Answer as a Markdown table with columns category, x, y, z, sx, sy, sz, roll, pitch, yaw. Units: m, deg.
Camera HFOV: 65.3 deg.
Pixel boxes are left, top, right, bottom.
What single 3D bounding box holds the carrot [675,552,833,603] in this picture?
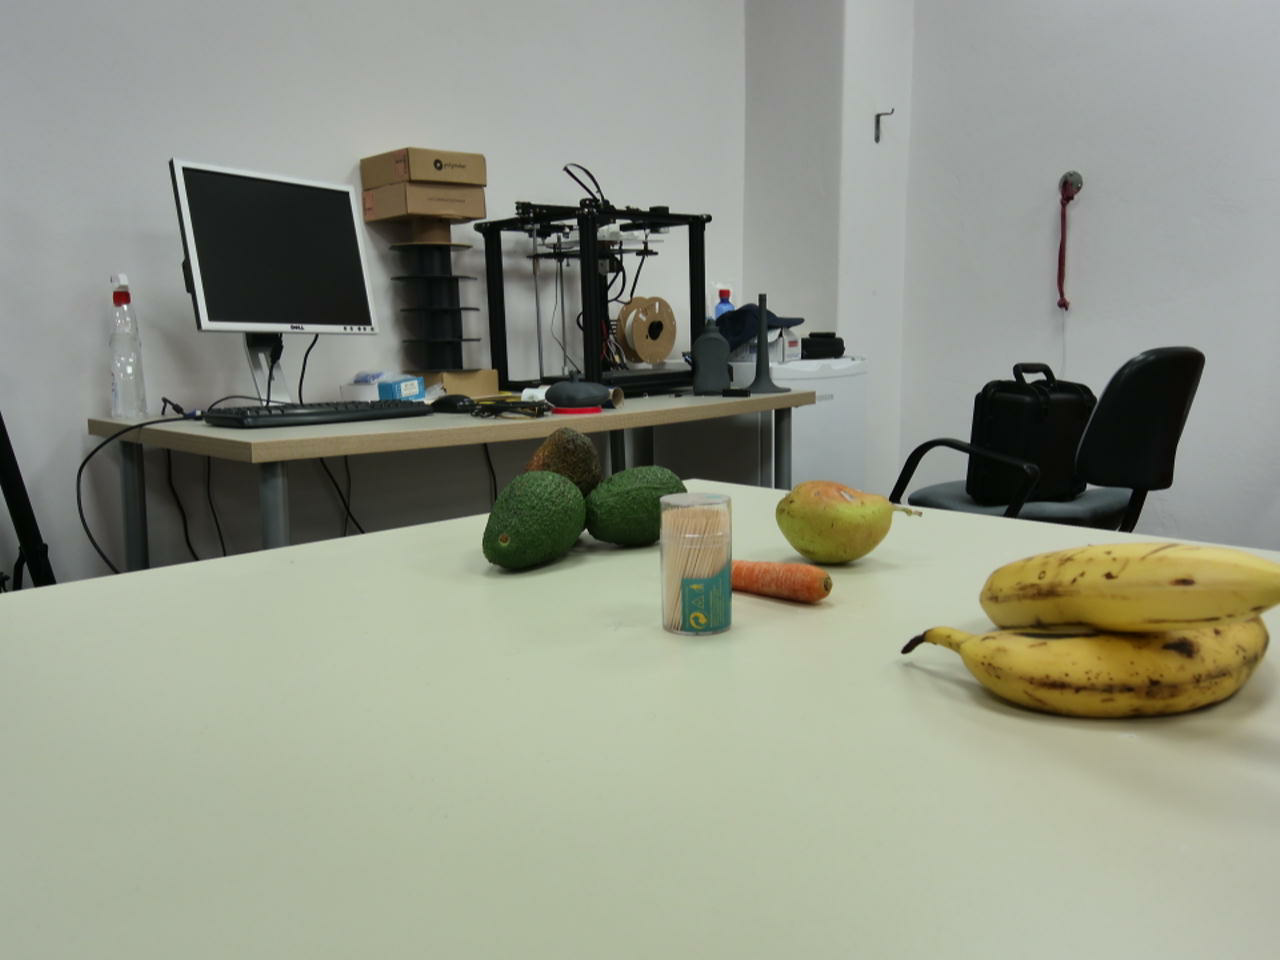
| category | x | y | z | sx | sy | sz | roll | pitch | yaw |
| --- | --- | --- | --- | --- | --- | --- | --- | --- | --- |
| carrot | 0.070 | 0.061 | 0.647 | 0.122 | 0.023 | 0.024 | 7 | 9 | 43 |
